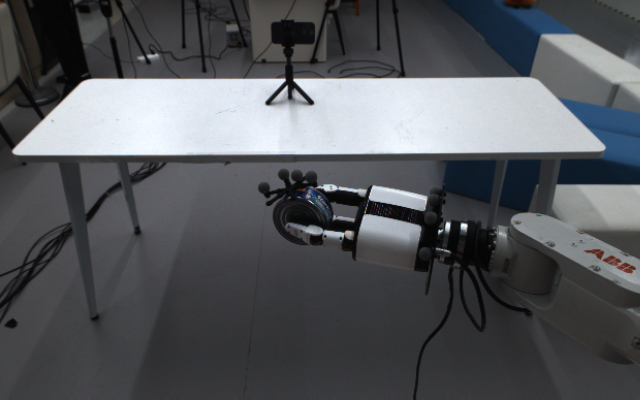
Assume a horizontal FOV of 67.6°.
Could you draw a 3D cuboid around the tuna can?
[{"bbox_3d":[-0.022,0.030,0.713,0.085,0.085,0.034,11,34,13],"label":"tuna can"}]
